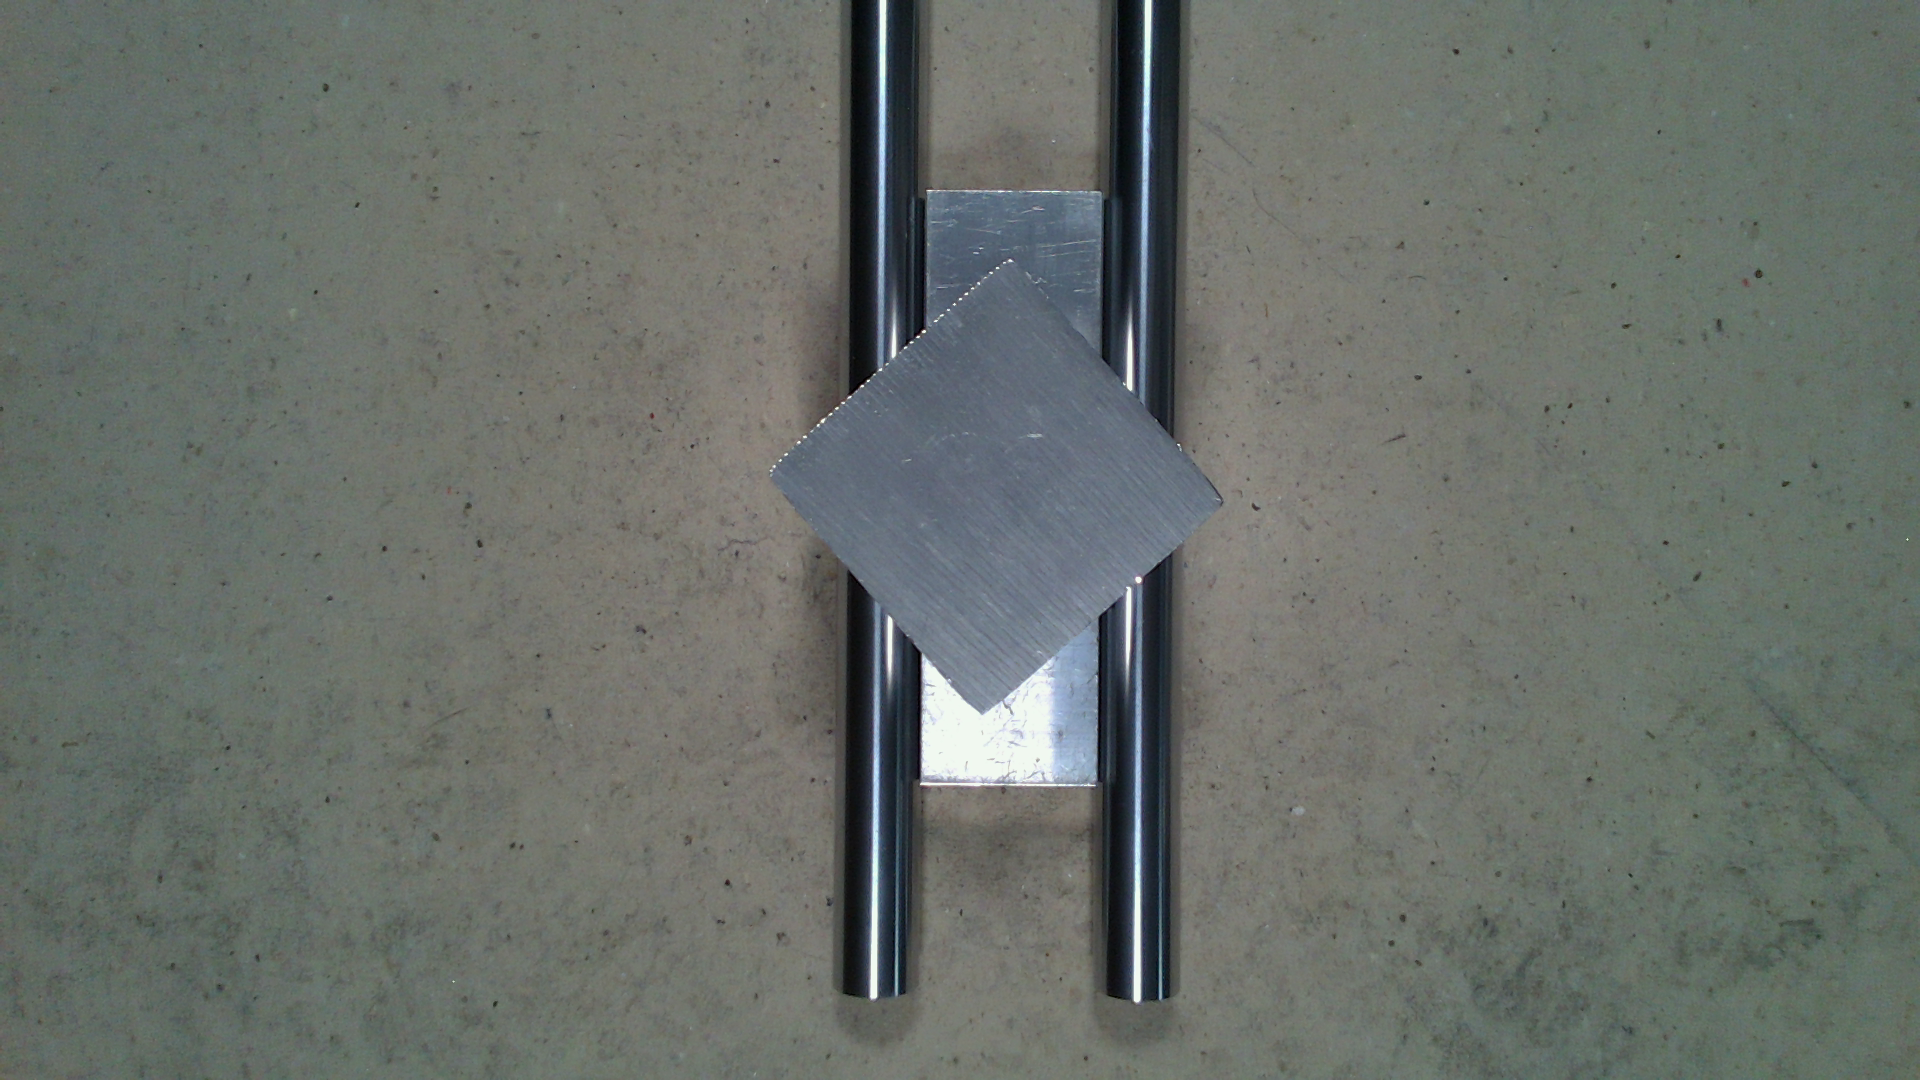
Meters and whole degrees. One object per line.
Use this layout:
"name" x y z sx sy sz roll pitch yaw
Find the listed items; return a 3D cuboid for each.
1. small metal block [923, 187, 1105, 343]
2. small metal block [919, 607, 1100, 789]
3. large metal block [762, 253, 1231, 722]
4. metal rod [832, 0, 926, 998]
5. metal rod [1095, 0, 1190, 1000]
"small metal block" 0.015 -0.073 0.394 0.050 0.025 0.050 1 90 0
"small metal block" 0.014 0.044 0.395 0.050 0.025 0.050 1 90 0
"large metal block" 0.009 -0.013 0.356 0.080 0.050 0.080 -41 90 0
"metal rod" -0.023 -0.022 0.396 0.025 0.025 0.300 0 90 0
"metal rod" 0.053 -0.022 0.396 0.025 0.025 0.300 0 90 0
